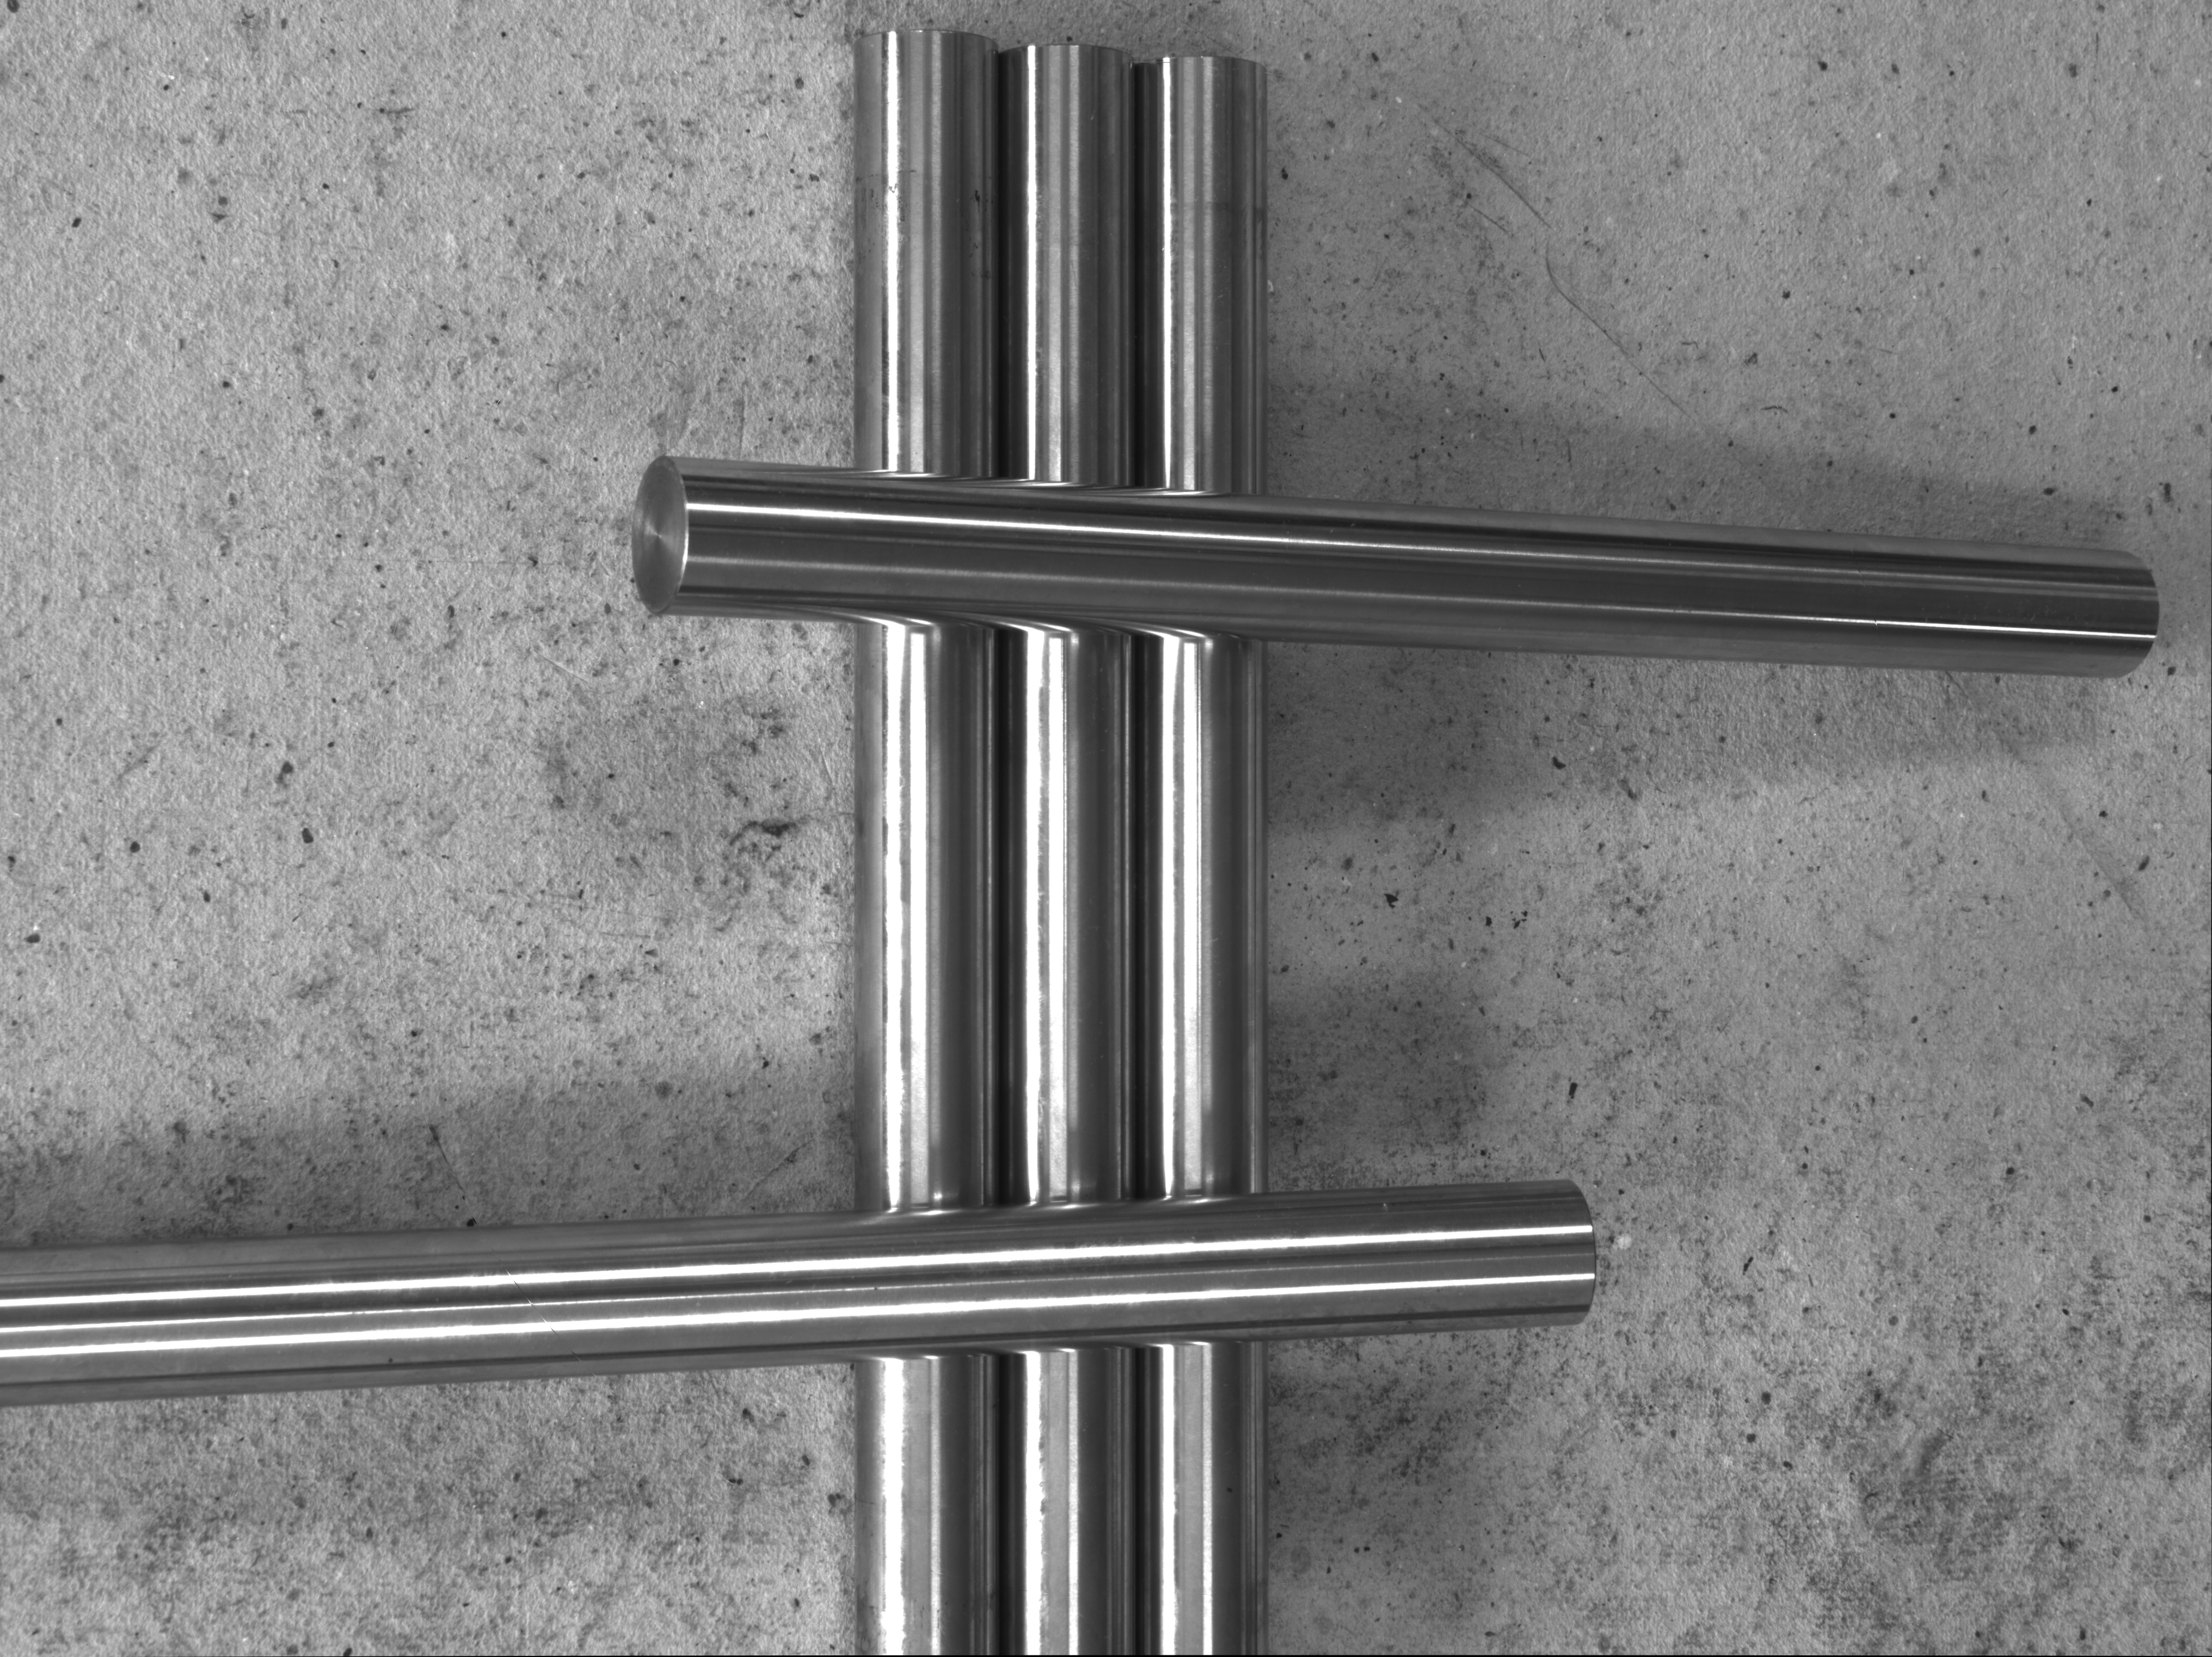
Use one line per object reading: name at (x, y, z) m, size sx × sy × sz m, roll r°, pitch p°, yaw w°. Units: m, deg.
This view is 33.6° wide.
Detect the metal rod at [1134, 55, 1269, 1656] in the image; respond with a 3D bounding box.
metal rod at (0.016, 0.016, 0.648) m, size 0.025 × 0.025 × 0.300 m, roll 0°, pitch 90°, yaw -20°

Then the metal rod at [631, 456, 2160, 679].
metal rod at (0.063, -0.044, 0.645) m, size 0.301 × 0.025 × 0.025 m, roll 1°, pitch 90°, yaw -27°

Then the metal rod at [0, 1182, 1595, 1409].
metal rod at (-0.067, 0.076, 0.598) m, size 0.300 × 0.025 × 0.025 m, roll -1°, pitch 90°, yaw -13°

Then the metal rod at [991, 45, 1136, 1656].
metal rod at (-0.007, 0.016, 0.640) m, size 0.025 × 0.025 × 0.300 m, roll 0°, pitch 90°, yaw -20°

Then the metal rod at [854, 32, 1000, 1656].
metal rod at (-0.031, 0.016, 0.631) m, size 0.025 × 0.025 × 0.300 m, roll 0°, pitch 90°, yaw -20°
